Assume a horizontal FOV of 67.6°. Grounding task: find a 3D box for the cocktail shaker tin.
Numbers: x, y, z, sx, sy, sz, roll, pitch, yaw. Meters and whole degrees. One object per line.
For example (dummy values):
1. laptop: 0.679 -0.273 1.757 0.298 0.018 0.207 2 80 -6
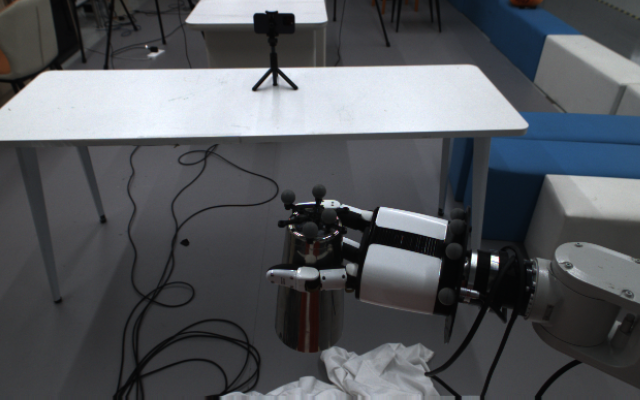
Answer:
1. cocktail shaker tin: -0.008 0.095 0.609 0.093 0.170 0.093 3 33 -2
